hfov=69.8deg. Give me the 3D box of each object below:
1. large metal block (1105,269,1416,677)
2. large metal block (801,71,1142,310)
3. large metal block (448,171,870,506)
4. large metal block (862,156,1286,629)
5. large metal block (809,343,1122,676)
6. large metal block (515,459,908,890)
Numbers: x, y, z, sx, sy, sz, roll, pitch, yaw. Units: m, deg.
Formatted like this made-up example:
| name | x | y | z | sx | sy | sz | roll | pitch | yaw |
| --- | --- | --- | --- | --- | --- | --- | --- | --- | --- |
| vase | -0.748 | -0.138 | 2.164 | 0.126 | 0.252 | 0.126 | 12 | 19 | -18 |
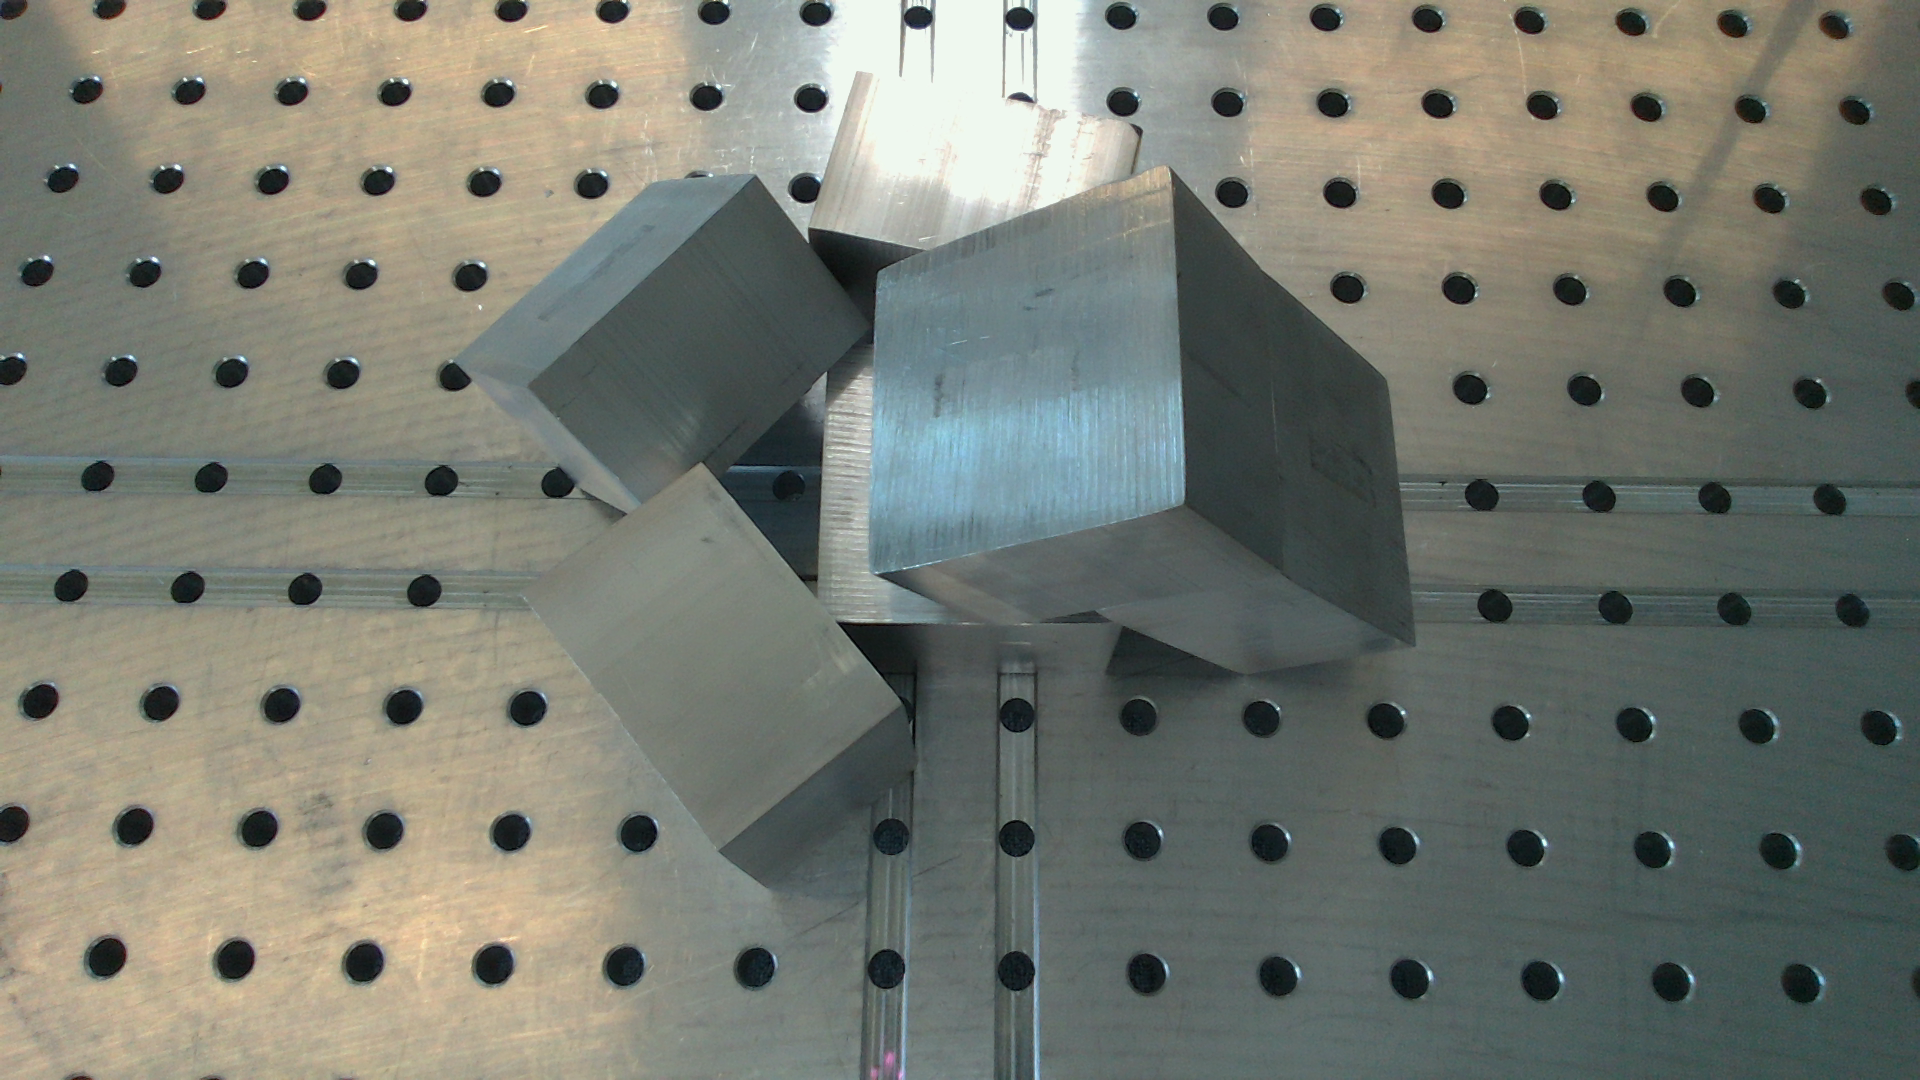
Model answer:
| name | x | y | z | sx | sy | sz | roll | pitch | yaw |
| --- | --- | --- | --- | --- | --- | --- | --- | --- | --- |
| large metal block | 0.077 | -0.014 | 0.364 | 0.050 | 0.080 | 0.080 | -15 | 64 | 35 |
| large metal block | 0.004 | -0.082 | 0.398 | 0.080 | 0.080 | 0.050 | 12 | 70 | 5 |
| large metal block | -0.085 | -0.055 | 0.381 | 0.080 | 0.080 | 0.050 | -47 | 121 | -15 |
| large metal block | 0.026 | -0.030 | 0.321 | 0.080 | 0.050 | 0.080 | -13 | 65 | 32 |
| large metal block | 0.002 | -0.007 | 0.387 | 0.080 | 0.050 | 0.080 | 1 | 70 | 0 |
| large metal block | -0.059 | 0.038 | 0.352 | 0.050 | 0.080 | 0.080 | -38 | 75 | -13 |
